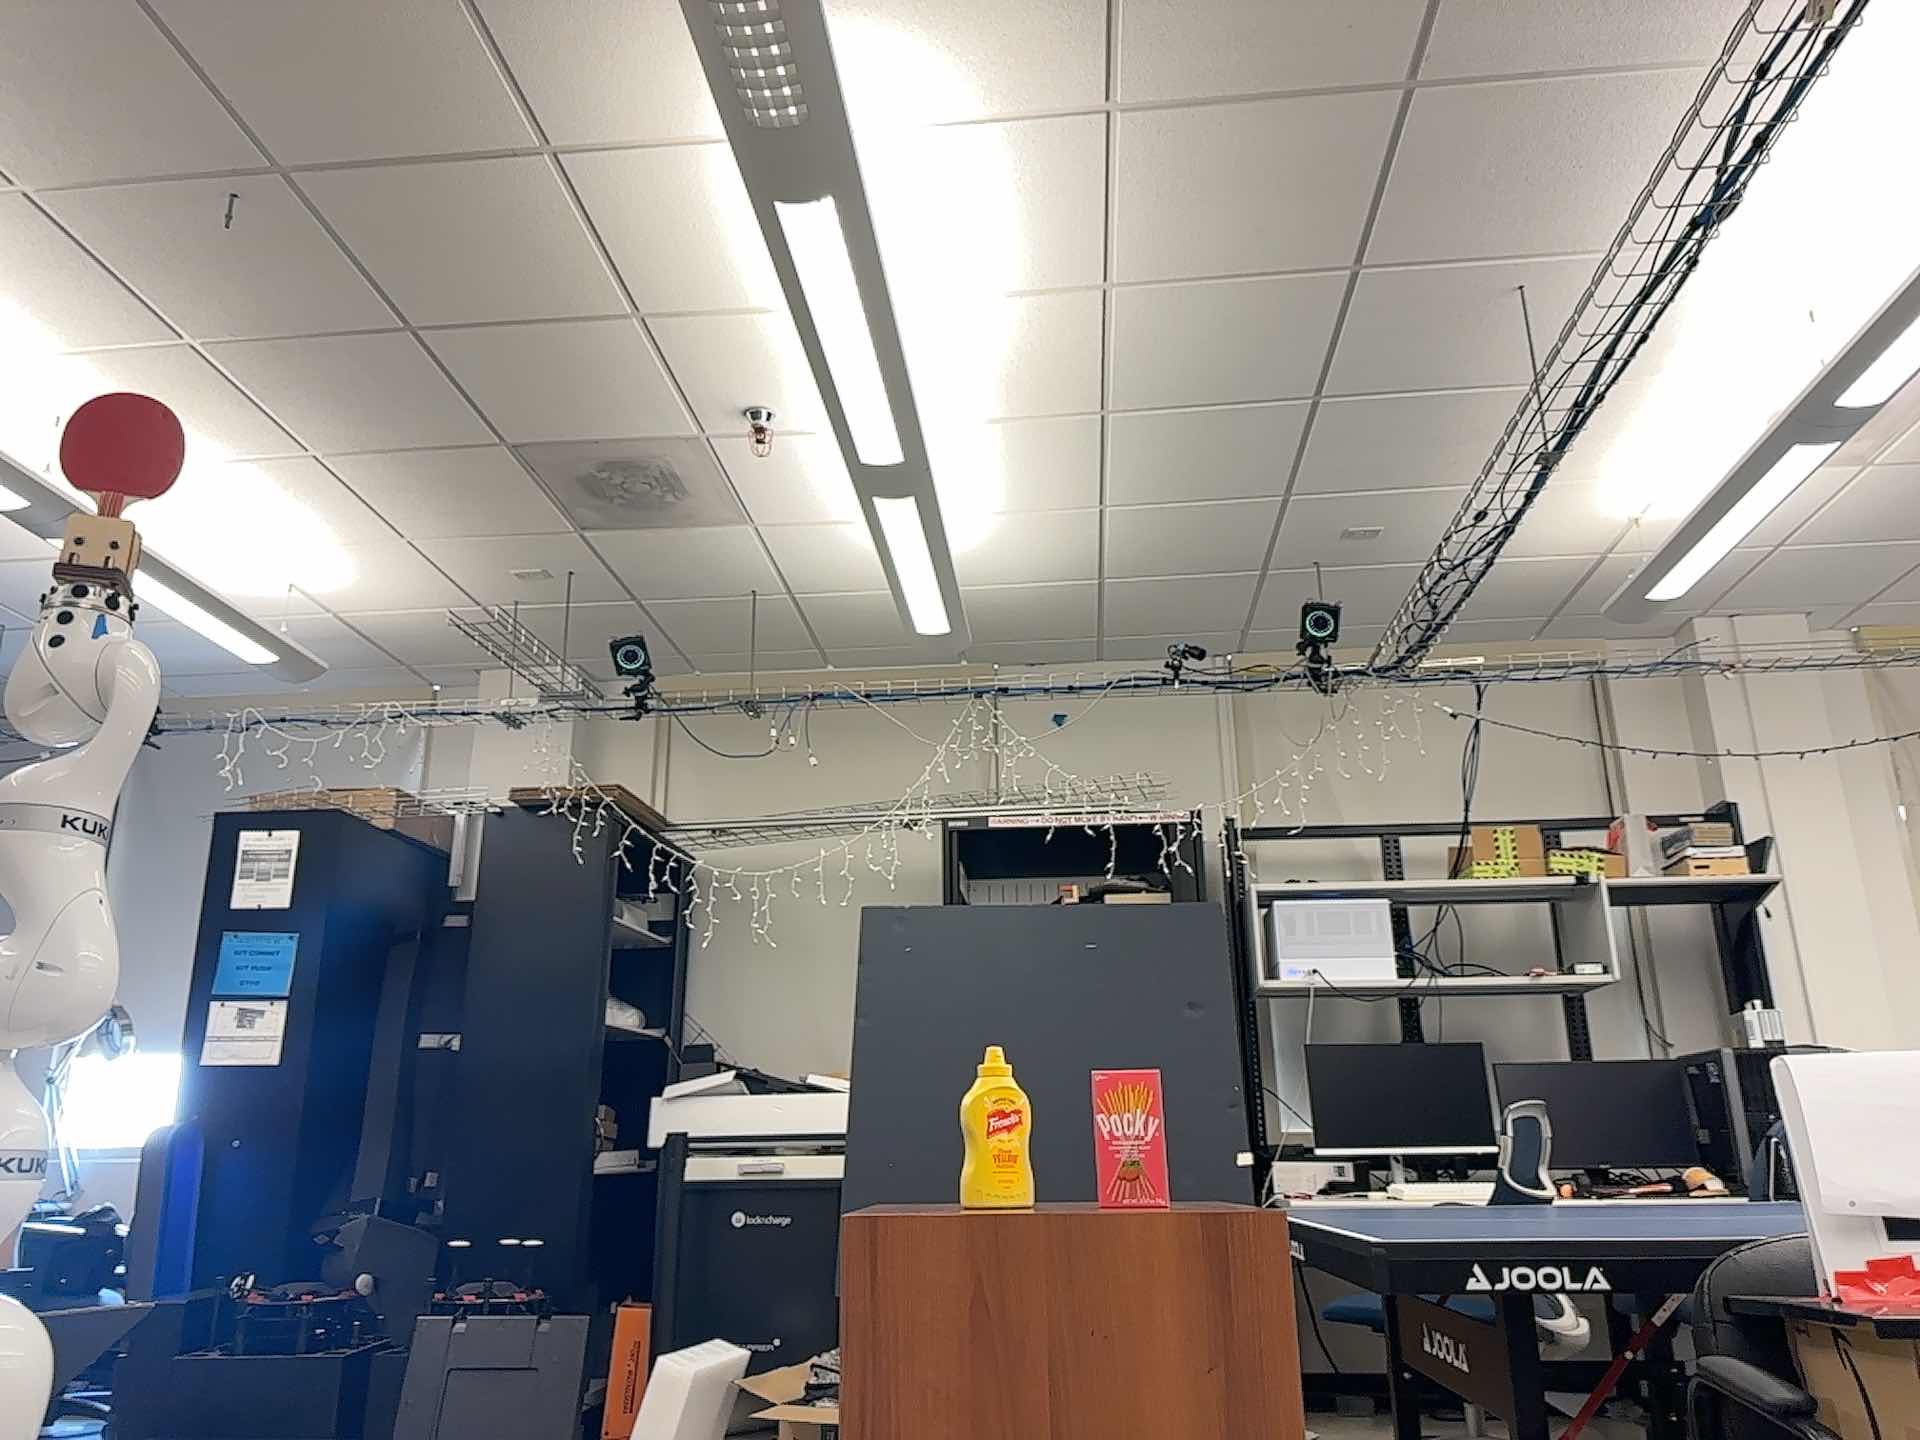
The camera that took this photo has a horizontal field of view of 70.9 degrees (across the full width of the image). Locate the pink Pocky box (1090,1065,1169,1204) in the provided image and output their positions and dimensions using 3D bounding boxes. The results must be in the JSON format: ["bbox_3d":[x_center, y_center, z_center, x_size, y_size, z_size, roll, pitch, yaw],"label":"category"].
[{"bbox_3d":[0.199,0.489,1.594,0.084,0.154,0.029,-5,-19,12],"label":"pink Pocky box"}]

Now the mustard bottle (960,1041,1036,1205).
[{"bbox_3d":[0.042,0.474,1.596,0.092,0.184,0.054,6,-19,-21],"label":"mustard bottle"}]
